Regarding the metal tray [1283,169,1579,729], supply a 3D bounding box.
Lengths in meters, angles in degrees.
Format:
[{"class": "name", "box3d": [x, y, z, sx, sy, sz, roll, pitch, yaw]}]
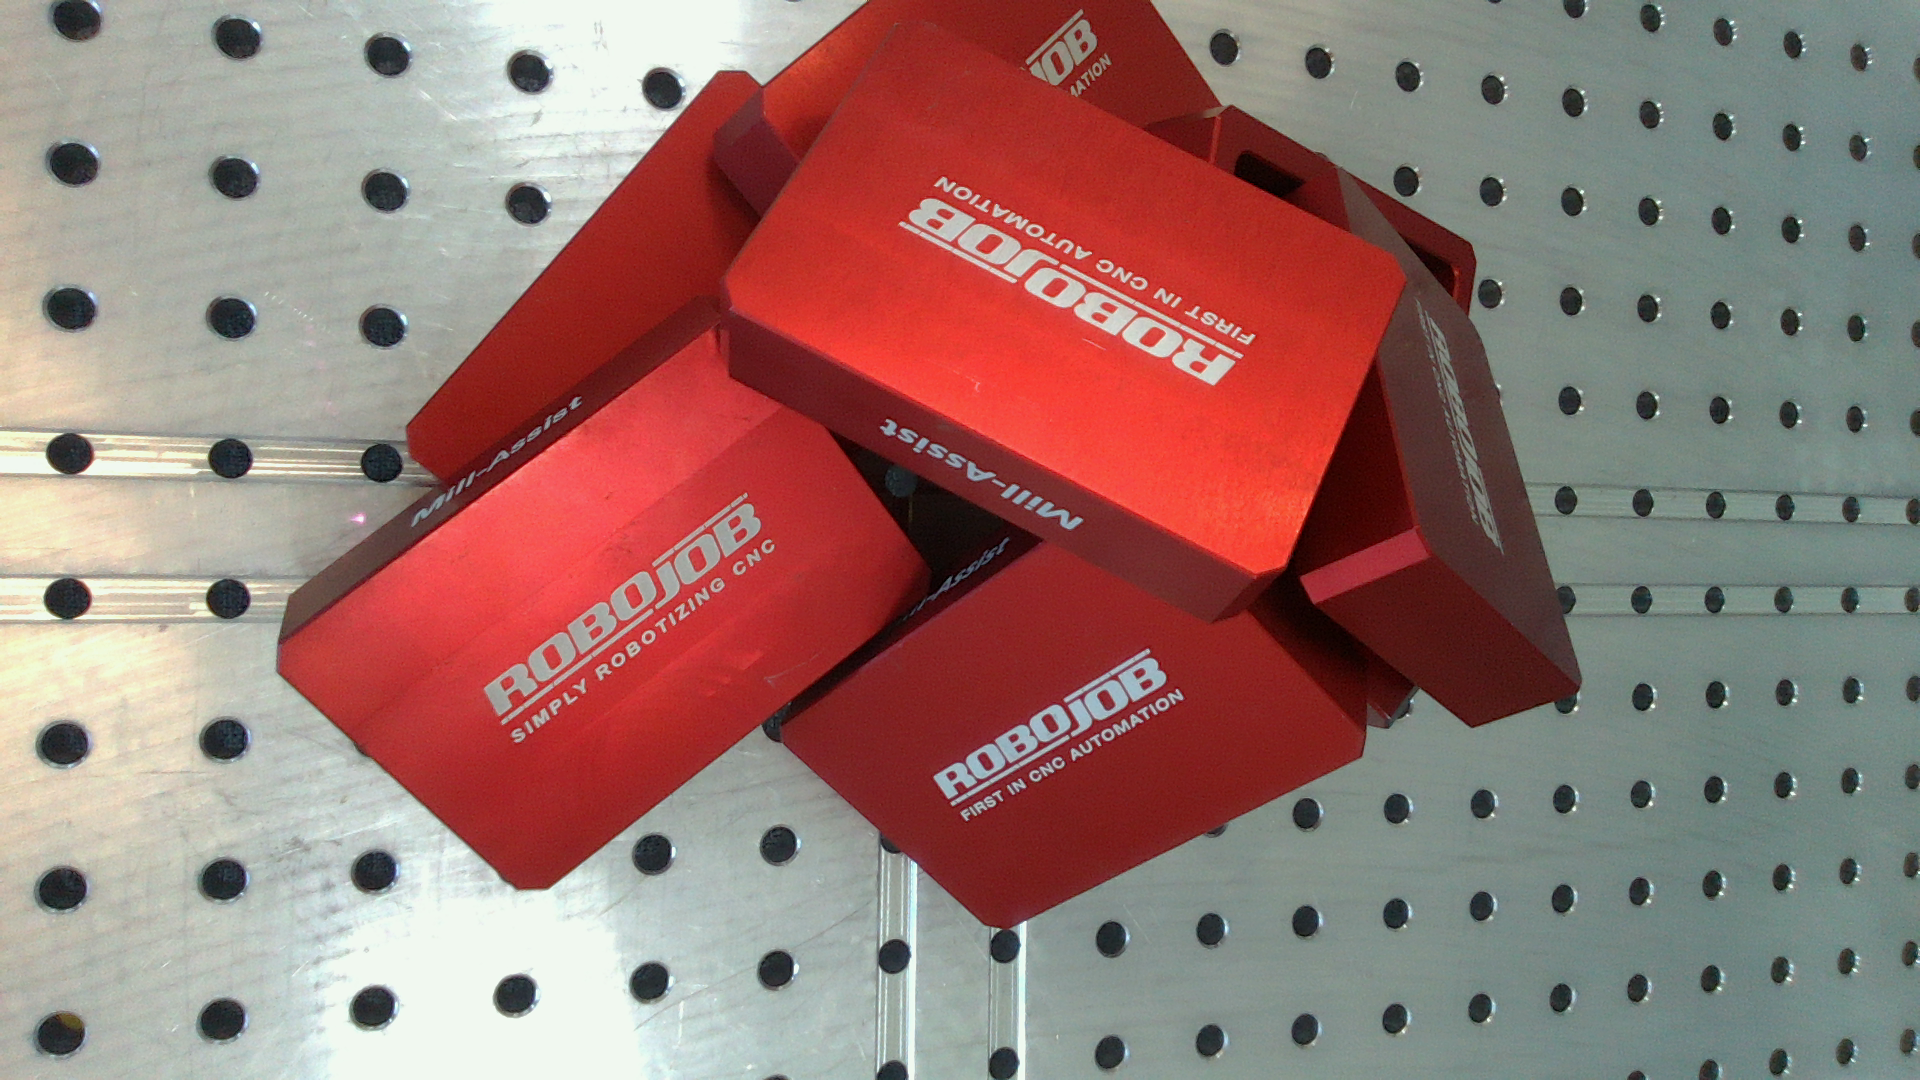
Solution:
[{"class": "metal tray", "box3d": [0.119, -0.026, 0.370, 0.090, 0.030, 0.130, 33, 43, -38]}]

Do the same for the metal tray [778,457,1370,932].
[{"class": "metal tray", "box3d": [0.027, 0.044, 0.357, 0.090, 0.130, 0.030, 45, 34, -15]}]

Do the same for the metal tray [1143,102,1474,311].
[{"class": "metal tray", "box3d": [0.099, -0.061, 0.406, 0.131, 0.030, 0.090, 13, 85, -39]}]

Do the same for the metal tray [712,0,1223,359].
[{"class": "metal tray", "box3d": [0.008, -0.112, 0.376, 0.090, 0.030, 0.130, 49, 61, -15]}]

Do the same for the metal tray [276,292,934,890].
[{"class": "metal tray", "box3d": [-0.083, 0.013, 0.339, 0.130, 0.030, 0.090, -38, 118, -4]}]

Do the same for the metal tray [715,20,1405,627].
[{"class": "metal tray", "box3d": [0.023, -0.050, 0.308, 0.130, 0.030, 0.090, 27, 66, 2]}]

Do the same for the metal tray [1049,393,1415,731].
[{"class": "metal tray", "box3d": [0.064, -0.006, 0.386, 0.130, 0.090, 0.030, 46, 76, -13]}]

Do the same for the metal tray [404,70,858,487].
[{"class": "metal tray", "box3d": [-0.069, -0.046, 0.367, 0.090, 0.030, 0.130, 41, 77, -16]}]
